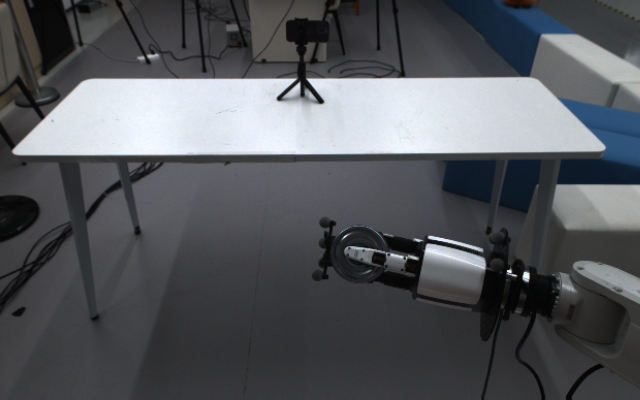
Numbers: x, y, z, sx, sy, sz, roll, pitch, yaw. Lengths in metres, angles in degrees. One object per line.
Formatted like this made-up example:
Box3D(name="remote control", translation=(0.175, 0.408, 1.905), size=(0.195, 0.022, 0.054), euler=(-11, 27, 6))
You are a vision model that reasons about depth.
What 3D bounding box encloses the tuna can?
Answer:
Box3D(name="tuna can", translation=(0.062, 0.083, 0.710), size=(0.085, 0.085, 0.034), euler=(9, -6, 10))
